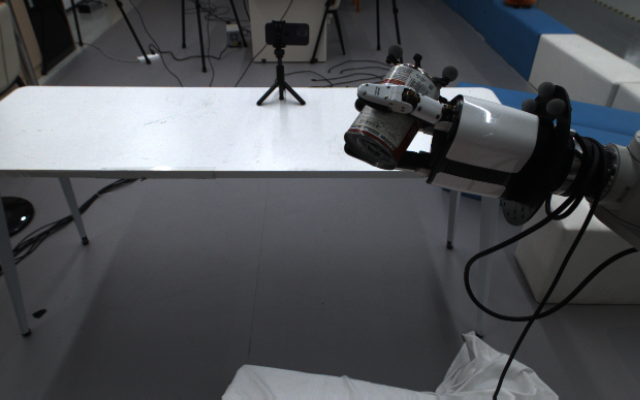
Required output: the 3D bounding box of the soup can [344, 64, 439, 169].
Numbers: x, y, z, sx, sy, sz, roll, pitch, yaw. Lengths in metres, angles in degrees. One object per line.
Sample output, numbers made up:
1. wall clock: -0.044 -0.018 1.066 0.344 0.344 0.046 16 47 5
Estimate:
1. soup can: 0.082 -0.096 0.549 0.067 0.067 0.101 26 76 31
